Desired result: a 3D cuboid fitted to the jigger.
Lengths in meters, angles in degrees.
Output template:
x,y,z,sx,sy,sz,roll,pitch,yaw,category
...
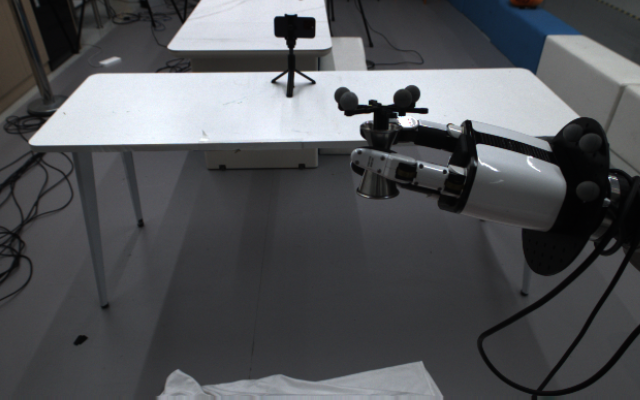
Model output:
x,y,z,sx,sy,sz,roll,pitch,yaw,category
0.059,-0.040,0.485,0.043,0.071,0.043,0,21,0,jigger
